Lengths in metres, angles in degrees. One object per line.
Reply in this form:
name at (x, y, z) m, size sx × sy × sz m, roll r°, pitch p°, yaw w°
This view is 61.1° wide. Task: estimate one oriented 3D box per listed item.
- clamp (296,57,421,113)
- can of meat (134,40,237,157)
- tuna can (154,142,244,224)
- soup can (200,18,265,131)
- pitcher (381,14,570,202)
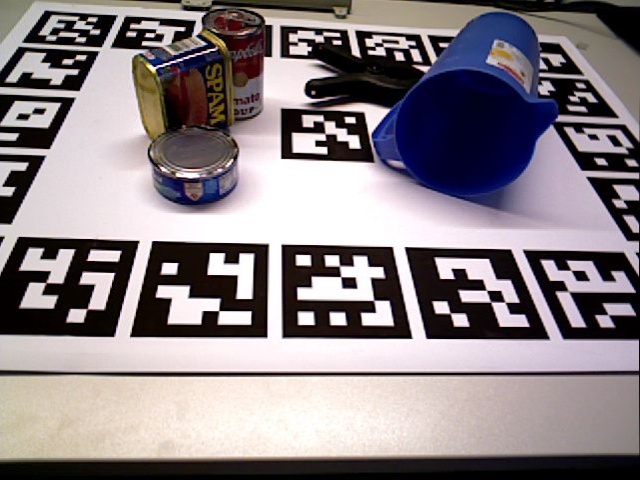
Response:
clamp at (0.051, -0.193, 0.696) m, size 0.164 × 0.037 × 0.120 m, roll 5°, pitch 41°, yaw -7°
can of meat at (-0.137, -0.140, 0.558) m, size 0.082 × 0.104 × 0.057 m, roll -30°, pitch 57°, yaw -26°
tuna can at (-0.117, -0.056, 0.531) m, size 0.085 × 0.034 × 0.084 m, roll 3°, pitch 48°, yaw -4°
soup can at (-0.096, -0.184, 0.612) m, size 0.067 × 0.104 × 0.067 m, roll 1°, pitch 48°, yaw -2°
pitcher at (0.176, -0.156, 0.586) m, size 0.190 × 0.135 × 0.237 m, roll -1°, pitch 34°, yaw 24°
